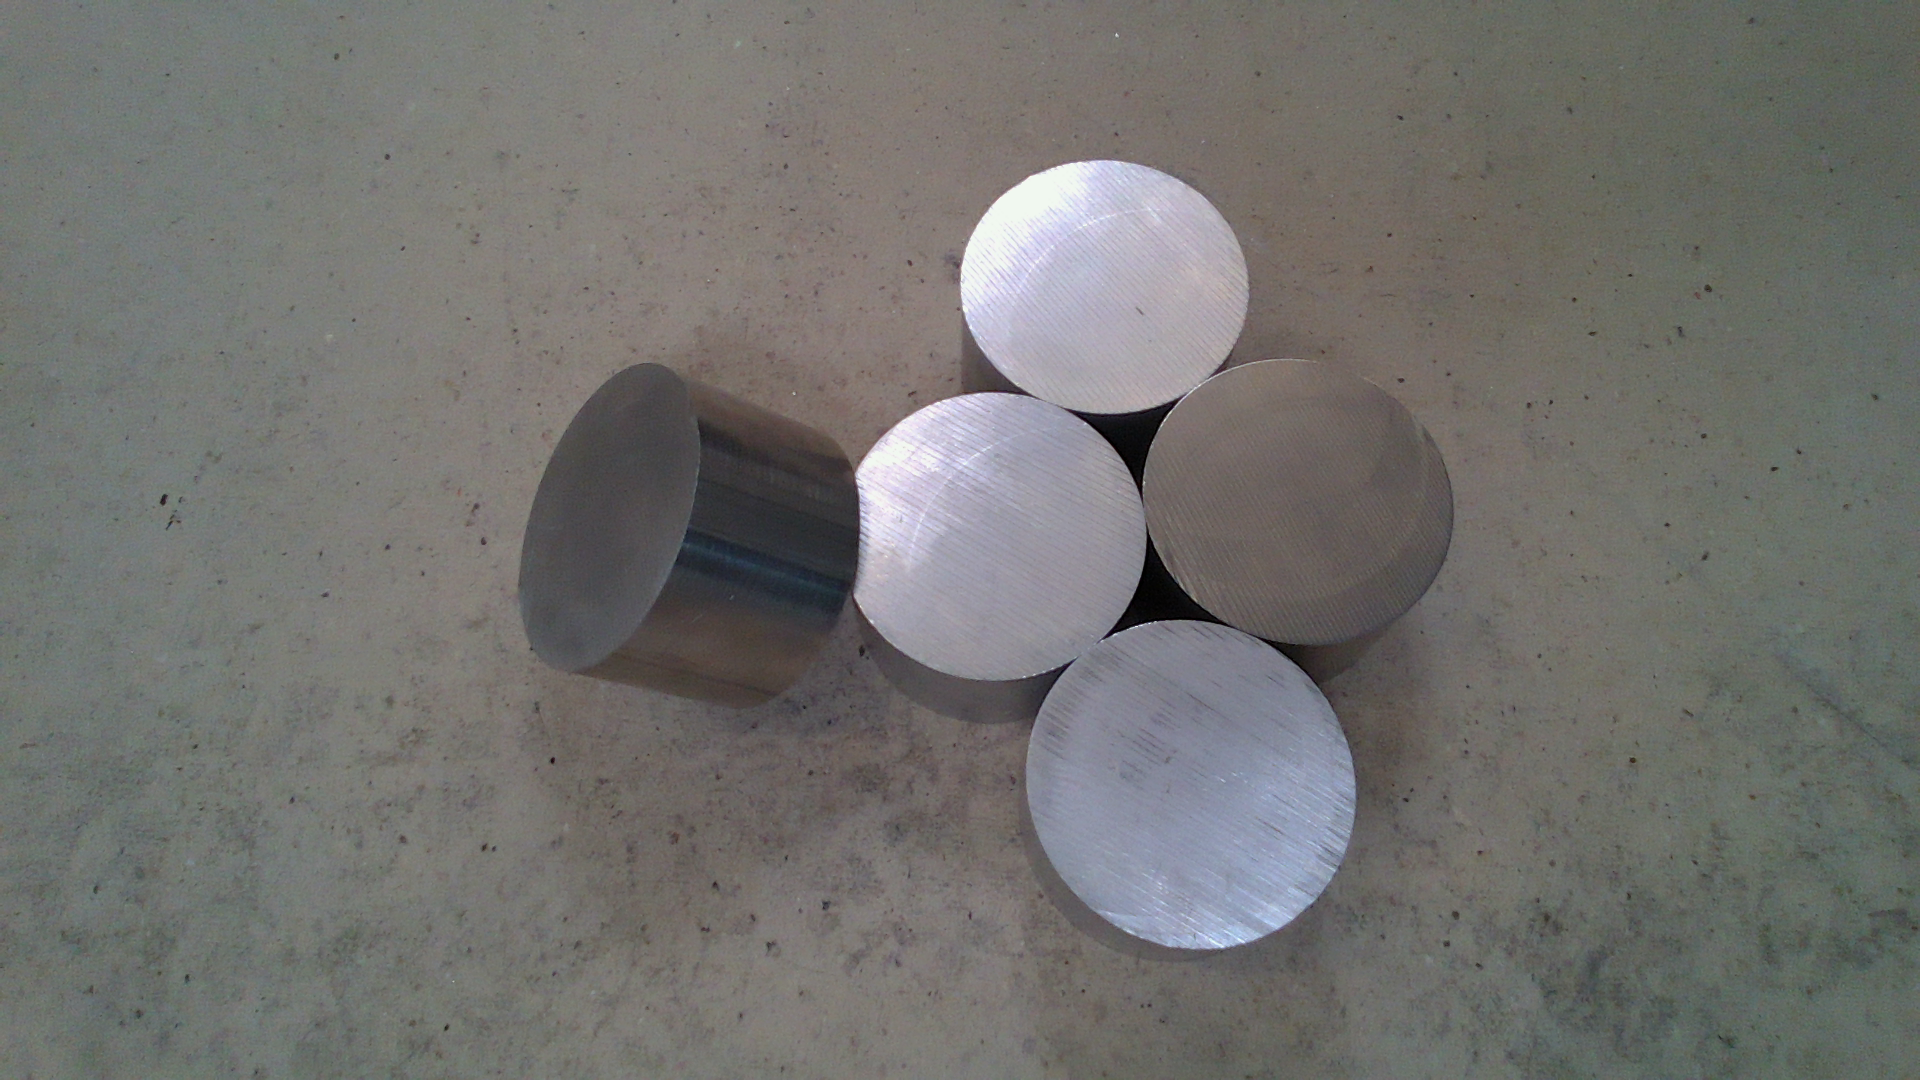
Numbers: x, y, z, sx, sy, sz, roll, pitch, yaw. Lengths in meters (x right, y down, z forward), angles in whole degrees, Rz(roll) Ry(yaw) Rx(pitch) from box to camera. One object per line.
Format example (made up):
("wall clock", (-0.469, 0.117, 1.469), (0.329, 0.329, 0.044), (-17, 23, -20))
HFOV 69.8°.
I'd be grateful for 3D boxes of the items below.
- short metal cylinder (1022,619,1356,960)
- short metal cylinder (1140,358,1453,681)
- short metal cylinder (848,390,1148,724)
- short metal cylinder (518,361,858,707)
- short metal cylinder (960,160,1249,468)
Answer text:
("short metal cylinder", (0.056, 0.066, 0.357), (0.080, 0.050, 0.080), (0, 70, 0))
("short metal cylinder", (0.089, -0.003, 0.383), (0.080, 0.050, 0.080), (0, 70, 0))
("short metal cylinder", (0.009, 0.006, 0.379), (0.080, 0.050, 0.080), (0, 70, 0))
("short metal cylinder", (-0.072, 0.000, 0.359), (0.080, 0.050, 0.080), (-20, 61, 41))
("short metal cylinder", (0.040, -0.063, 0.404), (0.080, 0.050, 0.080), (0, 70, 0))
